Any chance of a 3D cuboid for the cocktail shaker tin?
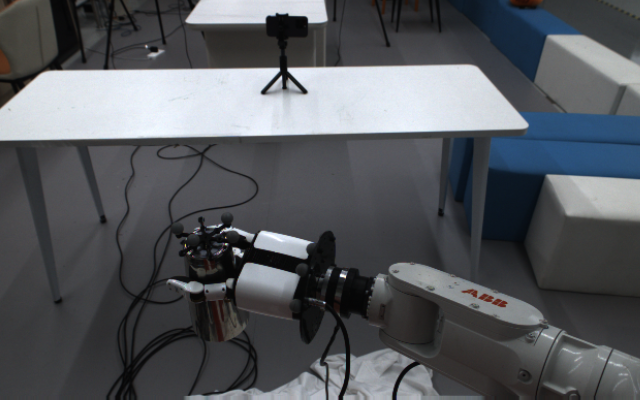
[{"bbox_3d":[-0.156,0.122,0.730,0.093,0.170,0.093,0,39,0],"label":"cocktail shaker tin"}]
